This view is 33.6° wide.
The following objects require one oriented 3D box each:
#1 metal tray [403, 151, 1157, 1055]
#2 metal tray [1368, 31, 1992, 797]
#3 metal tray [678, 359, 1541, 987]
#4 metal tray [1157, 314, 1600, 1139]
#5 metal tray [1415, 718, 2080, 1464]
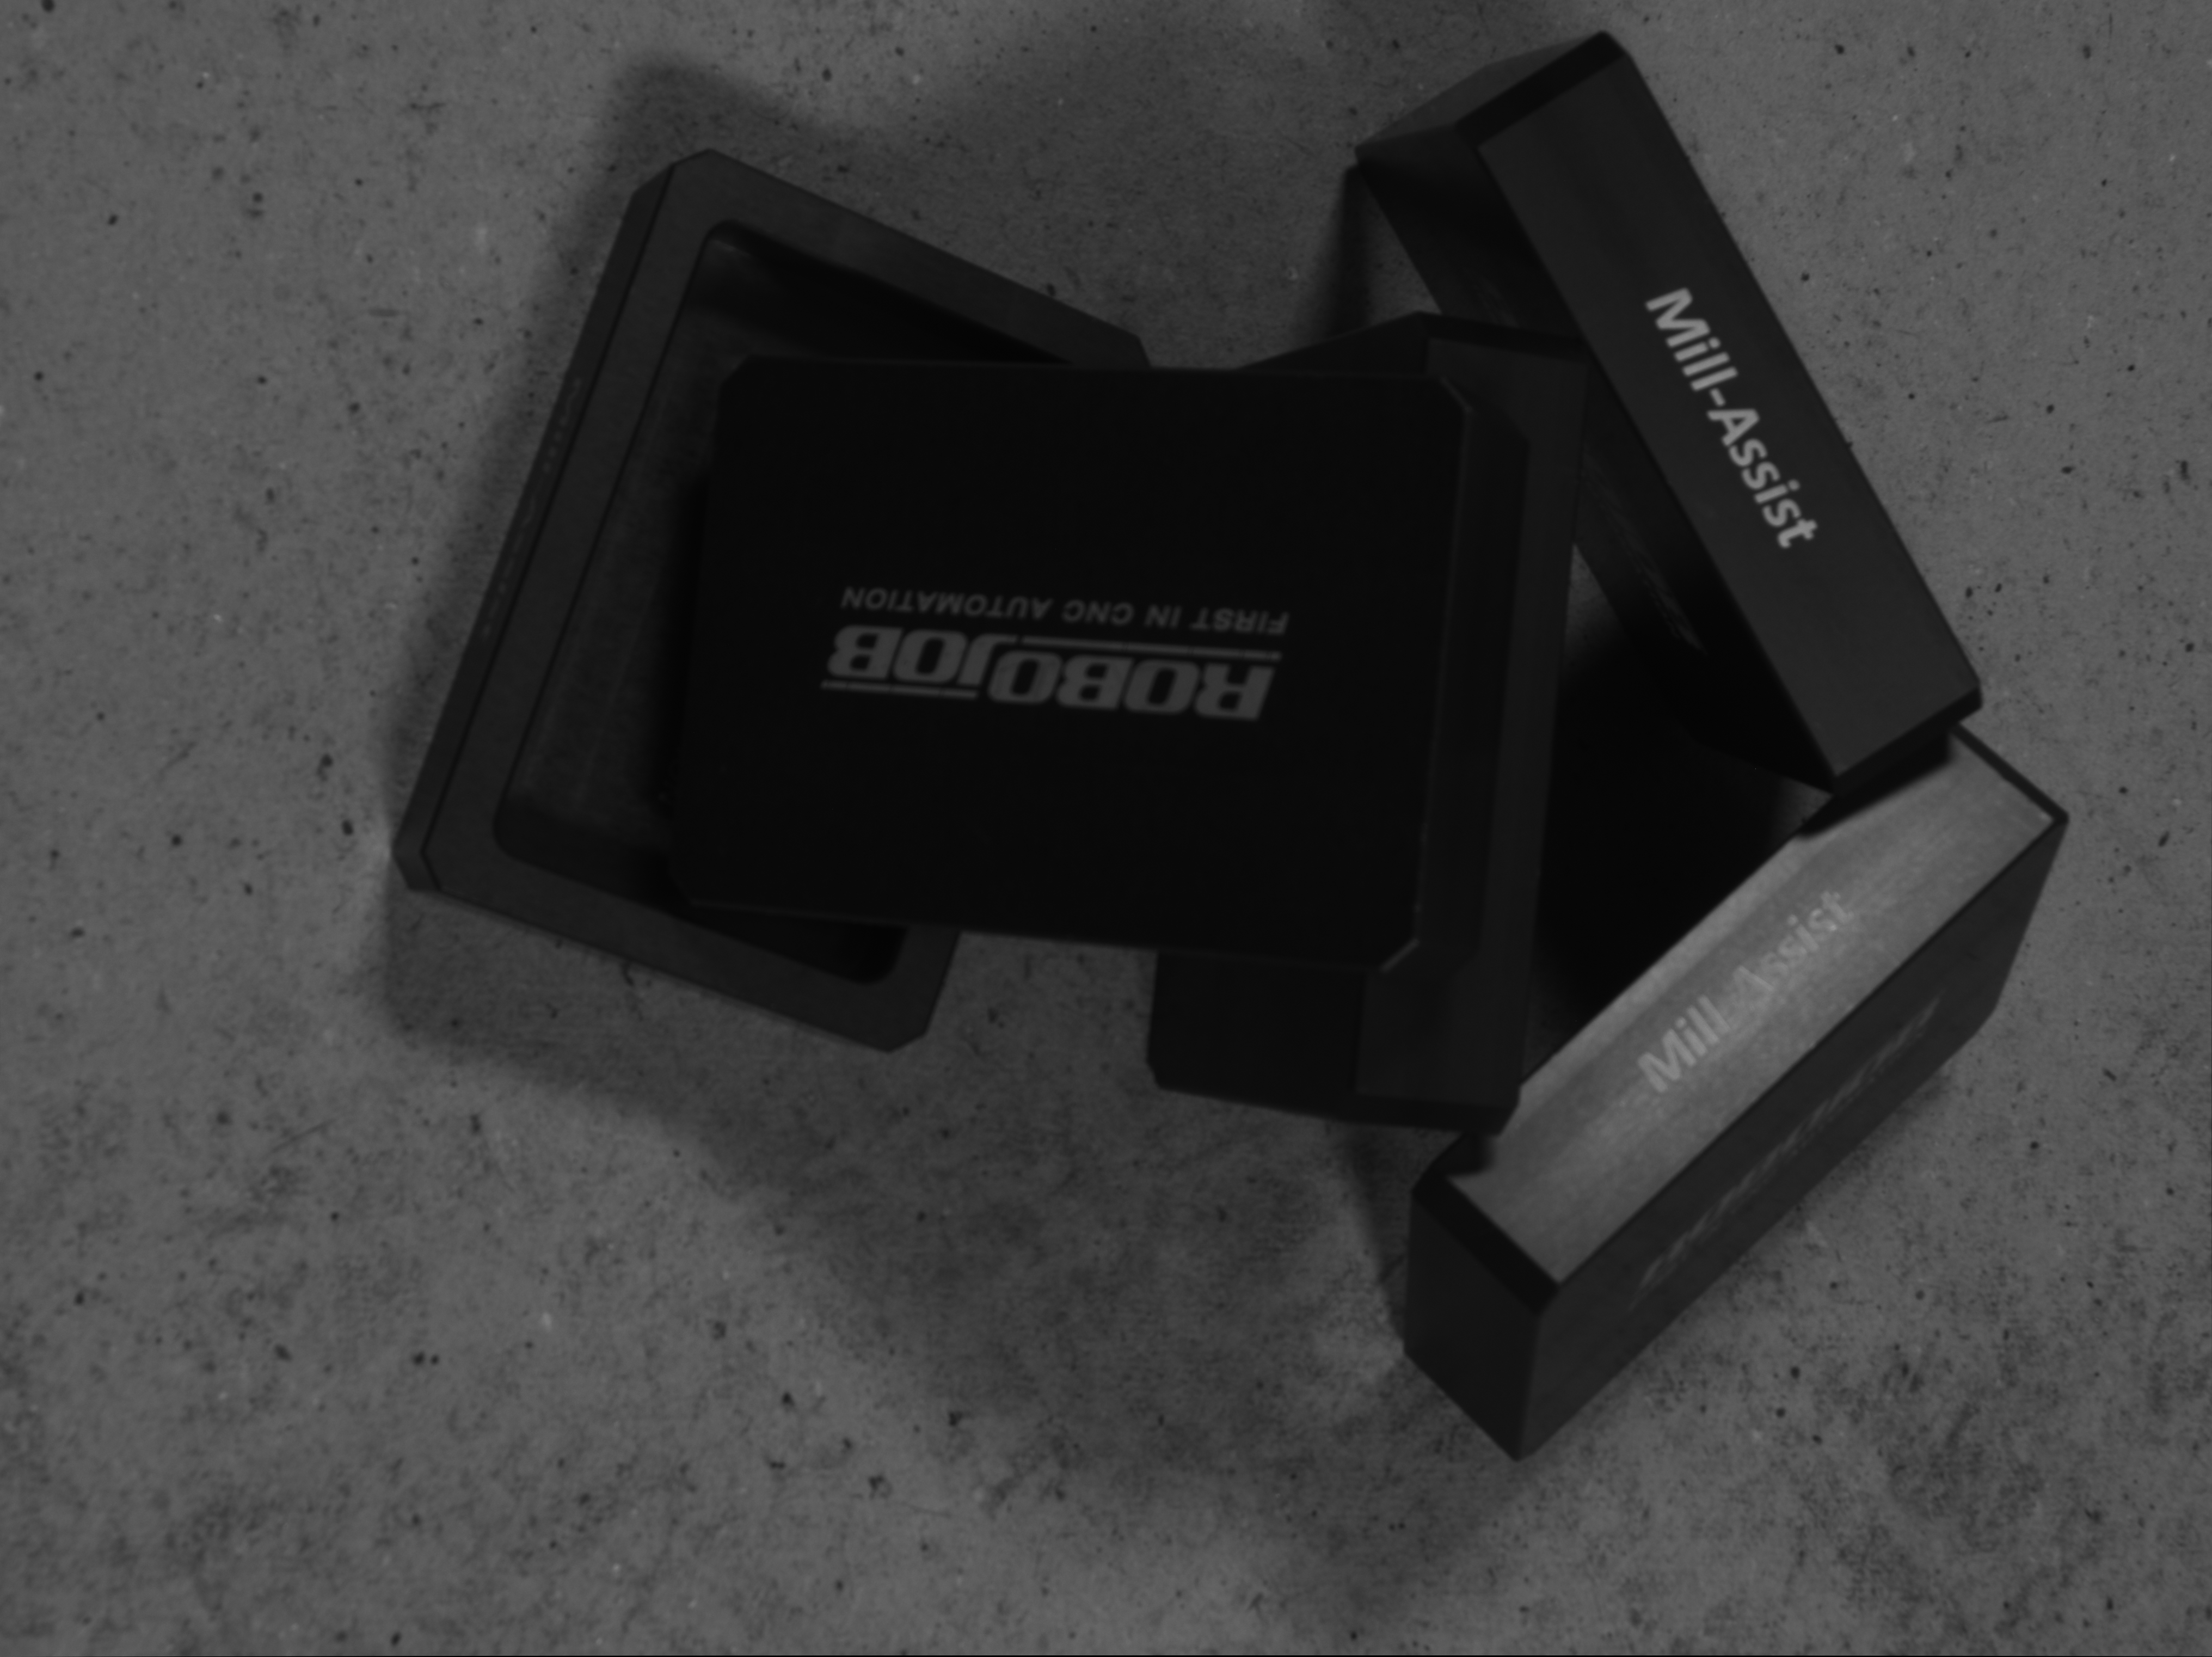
[{"bbox_3d":[-0.054,-0.037,0.621,0.090,0.030,0.130,21,83,-19],"label":"metal tray"},{"bbox_3d":[0.098,-0.072,0.642,0.030,0.090,0.130,-32,101,-2],"label":"metal tray"},{"bbox_3d":[-0.001,-0.026,0.583,0.130,0.030,0.090,5,88,25],"label":"metal tray"},{"bbox_3d":[0.044,-0.016,0.625,0.030,0.090,0.130,7,88,-20],"label":"metal tray"},{"bbox_3d":[0.112,0.048,0.649,0.130,0.090,0.030,-40,67,-15],"label":"metal tray"}]
